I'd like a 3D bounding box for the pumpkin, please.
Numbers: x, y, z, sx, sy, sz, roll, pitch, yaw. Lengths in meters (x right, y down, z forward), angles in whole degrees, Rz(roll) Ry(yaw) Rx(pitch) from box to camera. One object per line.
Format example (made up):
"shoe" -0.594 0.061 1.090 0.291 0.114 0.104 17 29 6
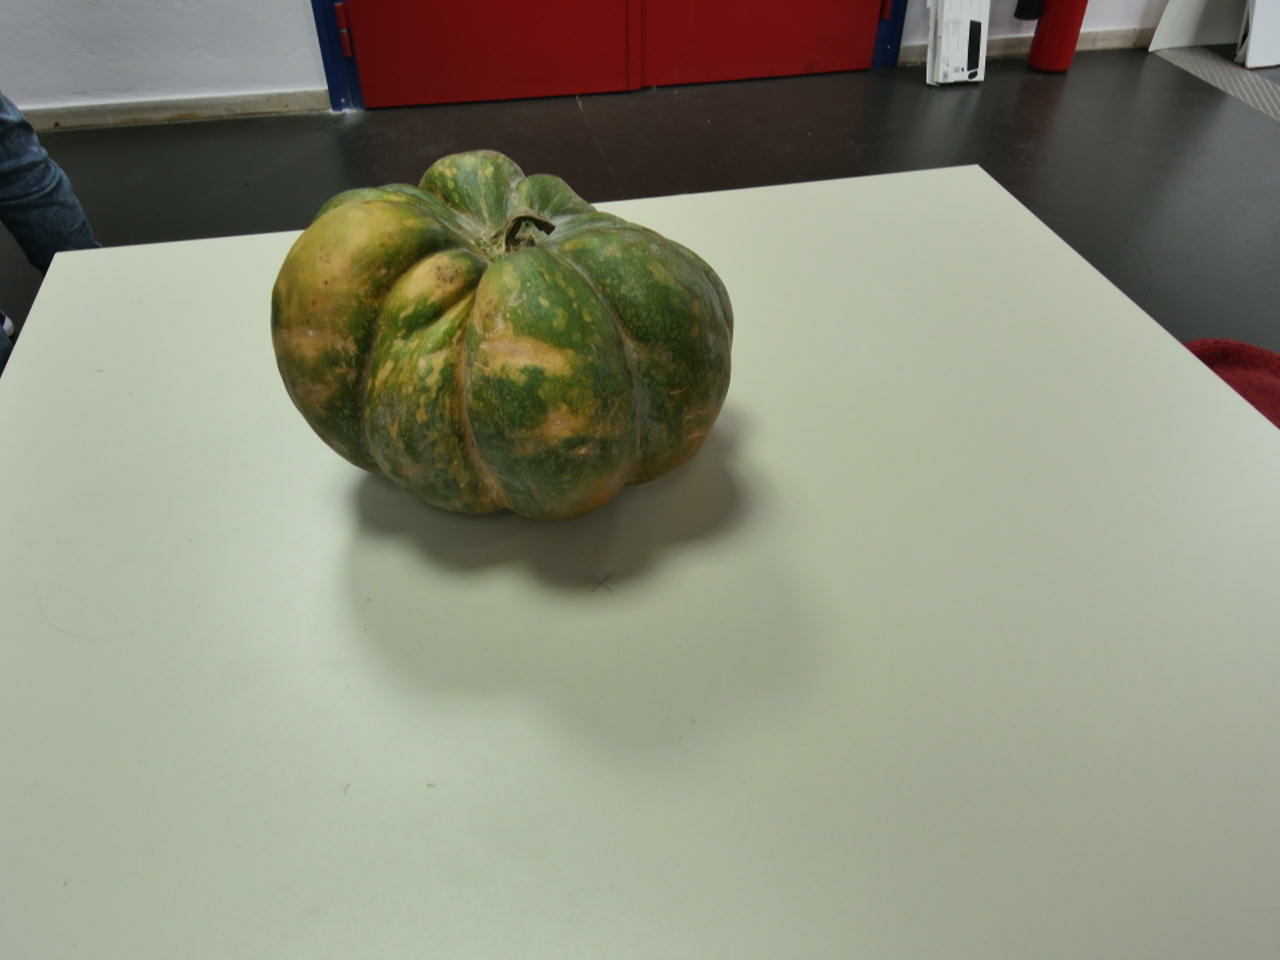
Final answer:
"pumpkin" -0.074 -0.088 0.572 0.270 0.173 0.237 17 42 19
